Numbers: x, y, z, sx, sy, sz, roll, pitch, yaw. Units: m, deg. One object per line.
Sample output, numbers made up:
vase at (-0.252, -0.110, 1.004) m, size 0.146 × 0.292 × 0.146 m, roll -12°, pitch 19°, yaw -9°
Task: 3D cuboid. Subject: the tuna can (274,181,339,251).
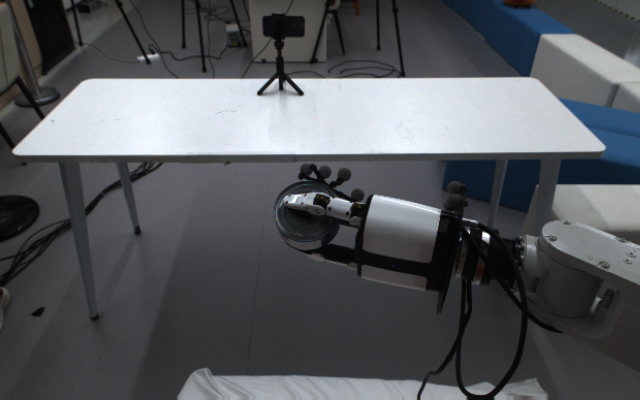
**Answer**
tuna can at (-0.015, 0.019, 0.621) m, size 0.085 × 0.034 × 0.085 m, roll -2°, pitch 60°, yaw 3°
